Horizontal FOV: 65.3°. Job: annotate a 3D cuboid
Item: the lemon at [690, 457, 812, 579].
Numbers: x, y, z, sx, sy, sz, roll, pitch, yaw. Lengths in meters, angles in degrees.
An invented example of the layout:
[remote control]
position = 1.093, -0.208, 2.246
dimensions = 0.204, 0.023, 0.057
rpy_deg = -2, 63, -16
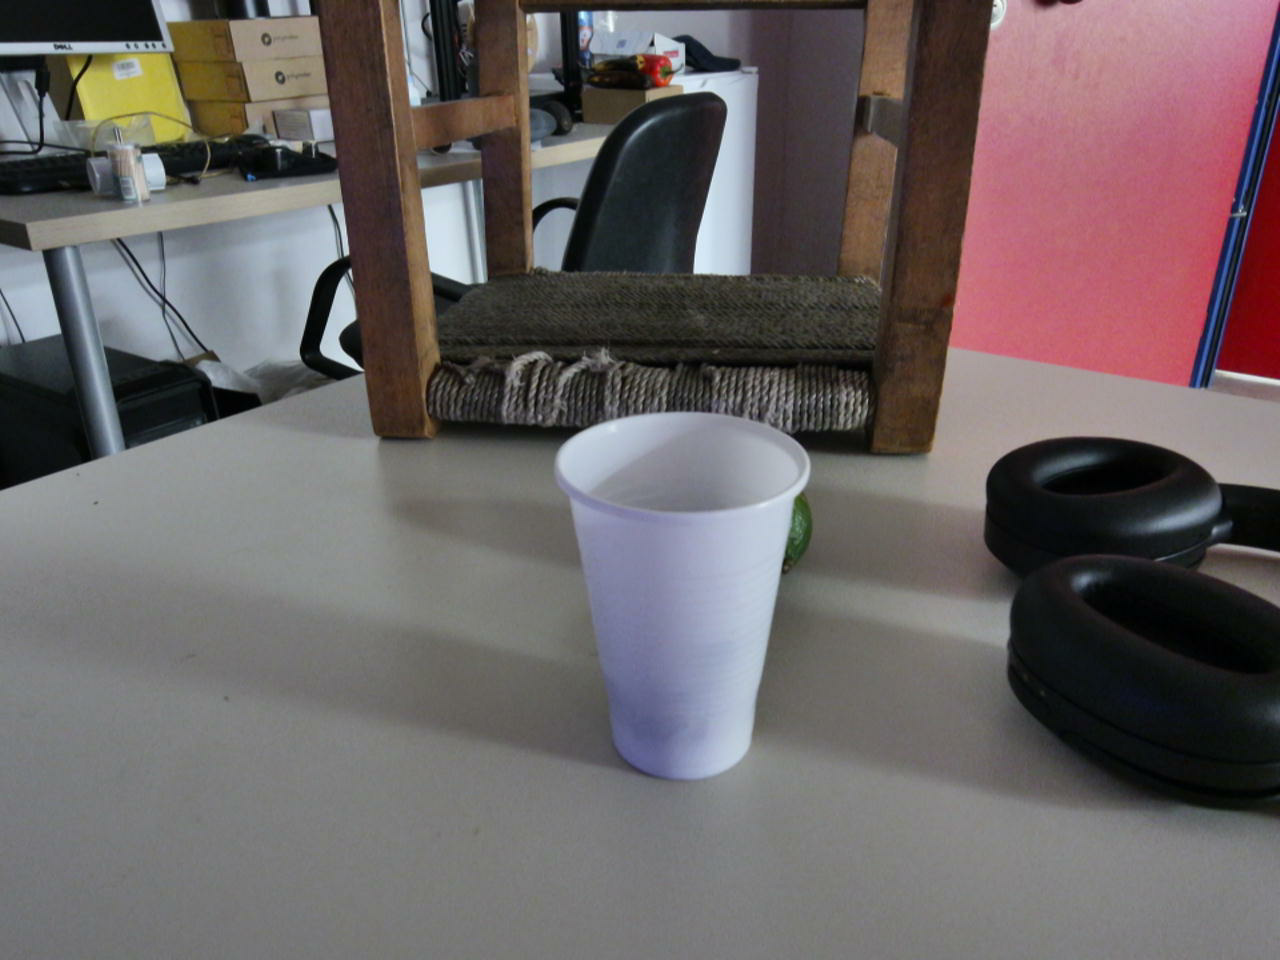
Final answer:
[lemon]
position = 0.049, 0.016, 0.441
dimensions = 0.057, 0.051, 0.054
rpy_deg = 15, 27, 32
